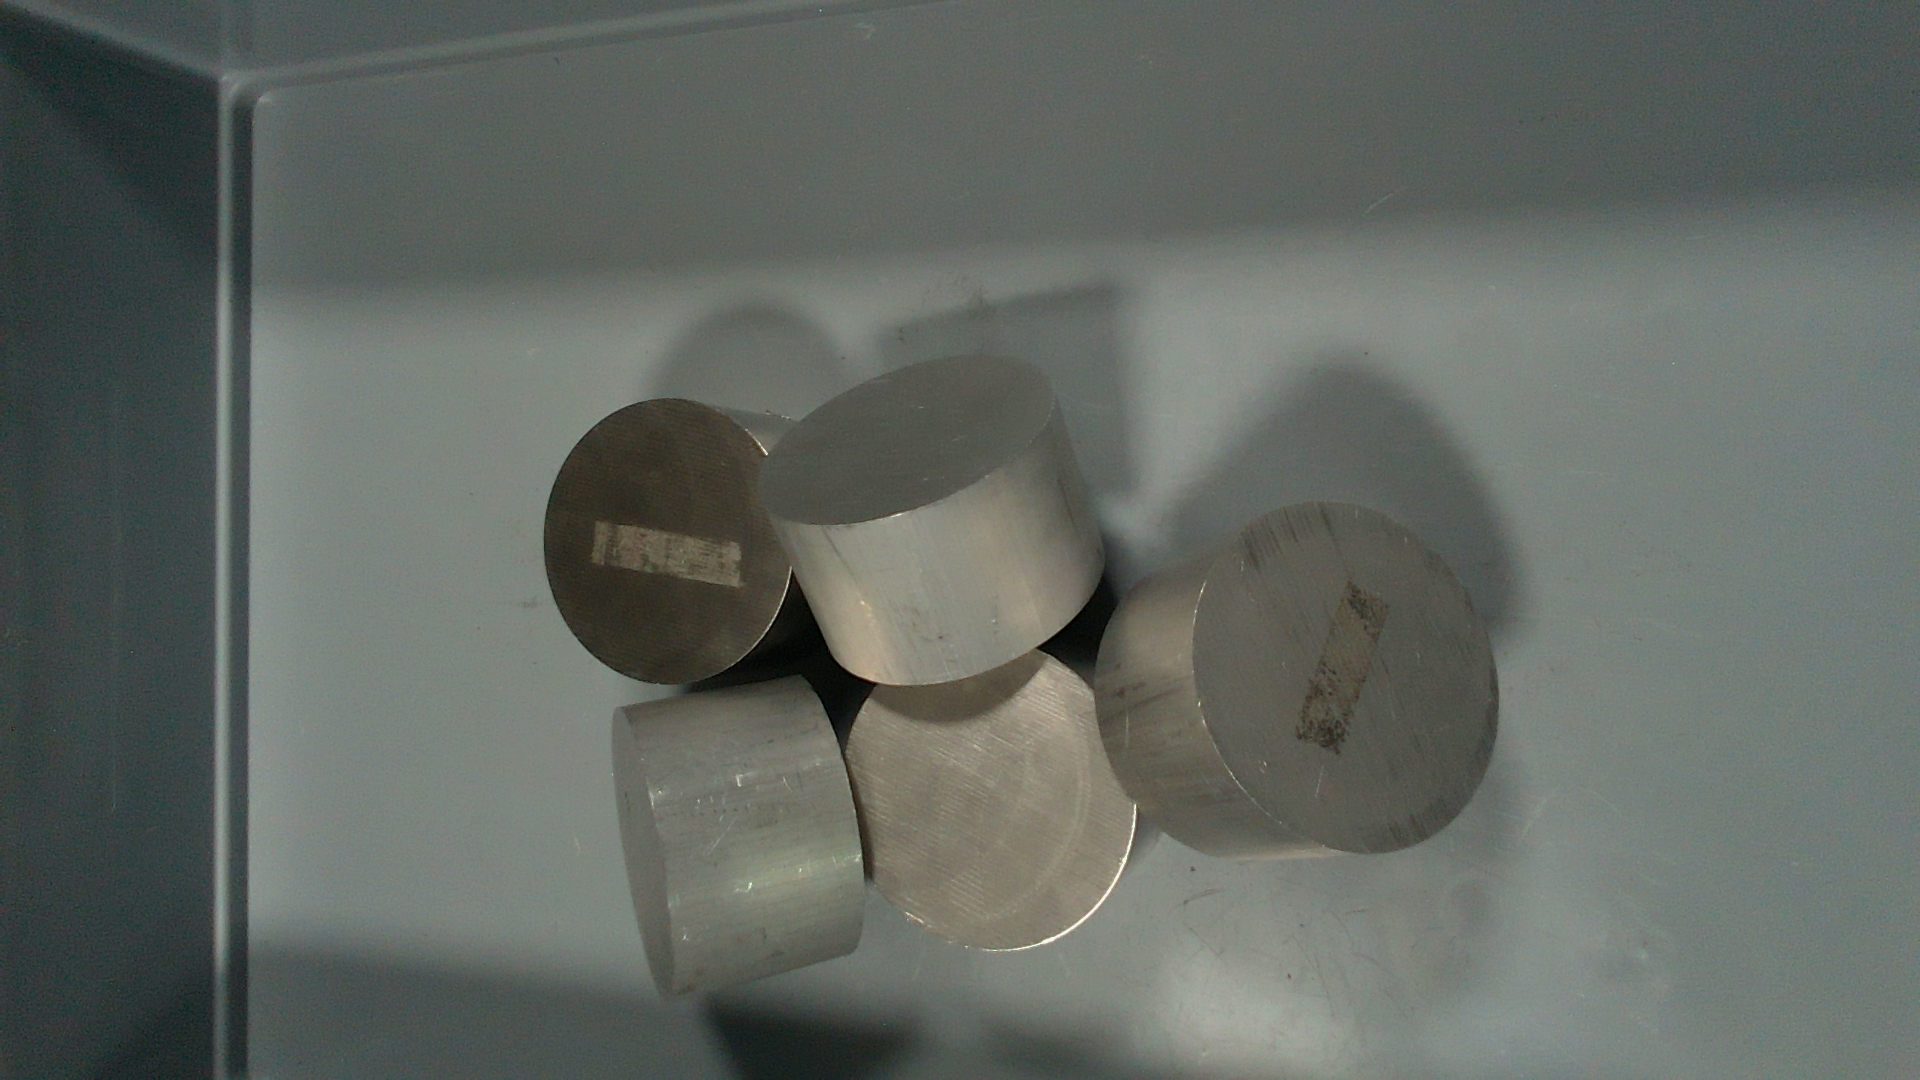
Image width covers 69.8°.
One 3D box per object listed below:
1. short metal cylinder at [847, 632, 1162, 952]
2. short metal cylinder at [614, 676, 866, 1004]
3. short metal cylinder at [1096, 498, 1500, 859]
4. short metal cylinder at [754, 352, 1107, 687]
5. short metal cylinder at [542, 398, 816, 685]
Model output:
[{"bbox_3d":[0.015,0.065,0.376,0.080,0.050,0.080,0,90,20],"label":"short metal cylinder"},{"bbox_3d":[-0.064,0.081,0.381,0.050,0.080,0.080,-9,86,-22],"label":"short metal cylinder"},{"bbox_3d":[0.080,0.035,0.331,0.080,0.050,0.080,5,74,-19],"label":"short metal cylinder"},{"bbox_3d":[-0.007,-0.007,0.360,0.080,0.080,0.050,-9,123,20],"label":"short metal cylinder"},{"bbox_3d":[-0.075,0.000,0.407,0.080,0.050,0.080,0,90,20],"label":"short metal cylinder"}]
